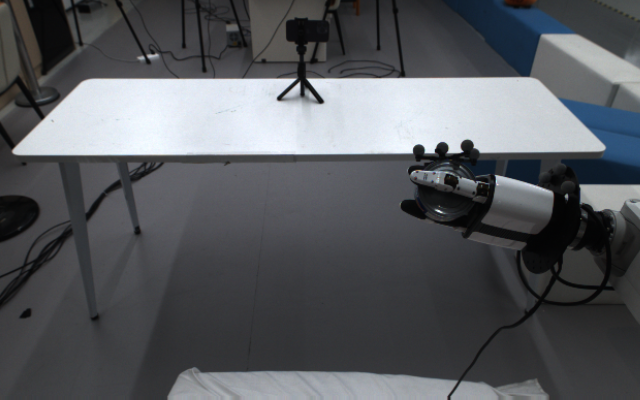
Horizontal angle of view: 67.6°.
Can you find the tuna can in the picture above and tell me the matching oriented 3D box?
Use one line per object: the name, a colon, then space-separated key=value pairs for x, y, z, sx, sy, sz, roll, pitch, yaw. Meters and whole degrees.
tuna can: x=0.180 y=-0.015 z=0.693 sx=0.085 sy=0.034 sz=0.085 roll=0 pitch=74 yaw=1
